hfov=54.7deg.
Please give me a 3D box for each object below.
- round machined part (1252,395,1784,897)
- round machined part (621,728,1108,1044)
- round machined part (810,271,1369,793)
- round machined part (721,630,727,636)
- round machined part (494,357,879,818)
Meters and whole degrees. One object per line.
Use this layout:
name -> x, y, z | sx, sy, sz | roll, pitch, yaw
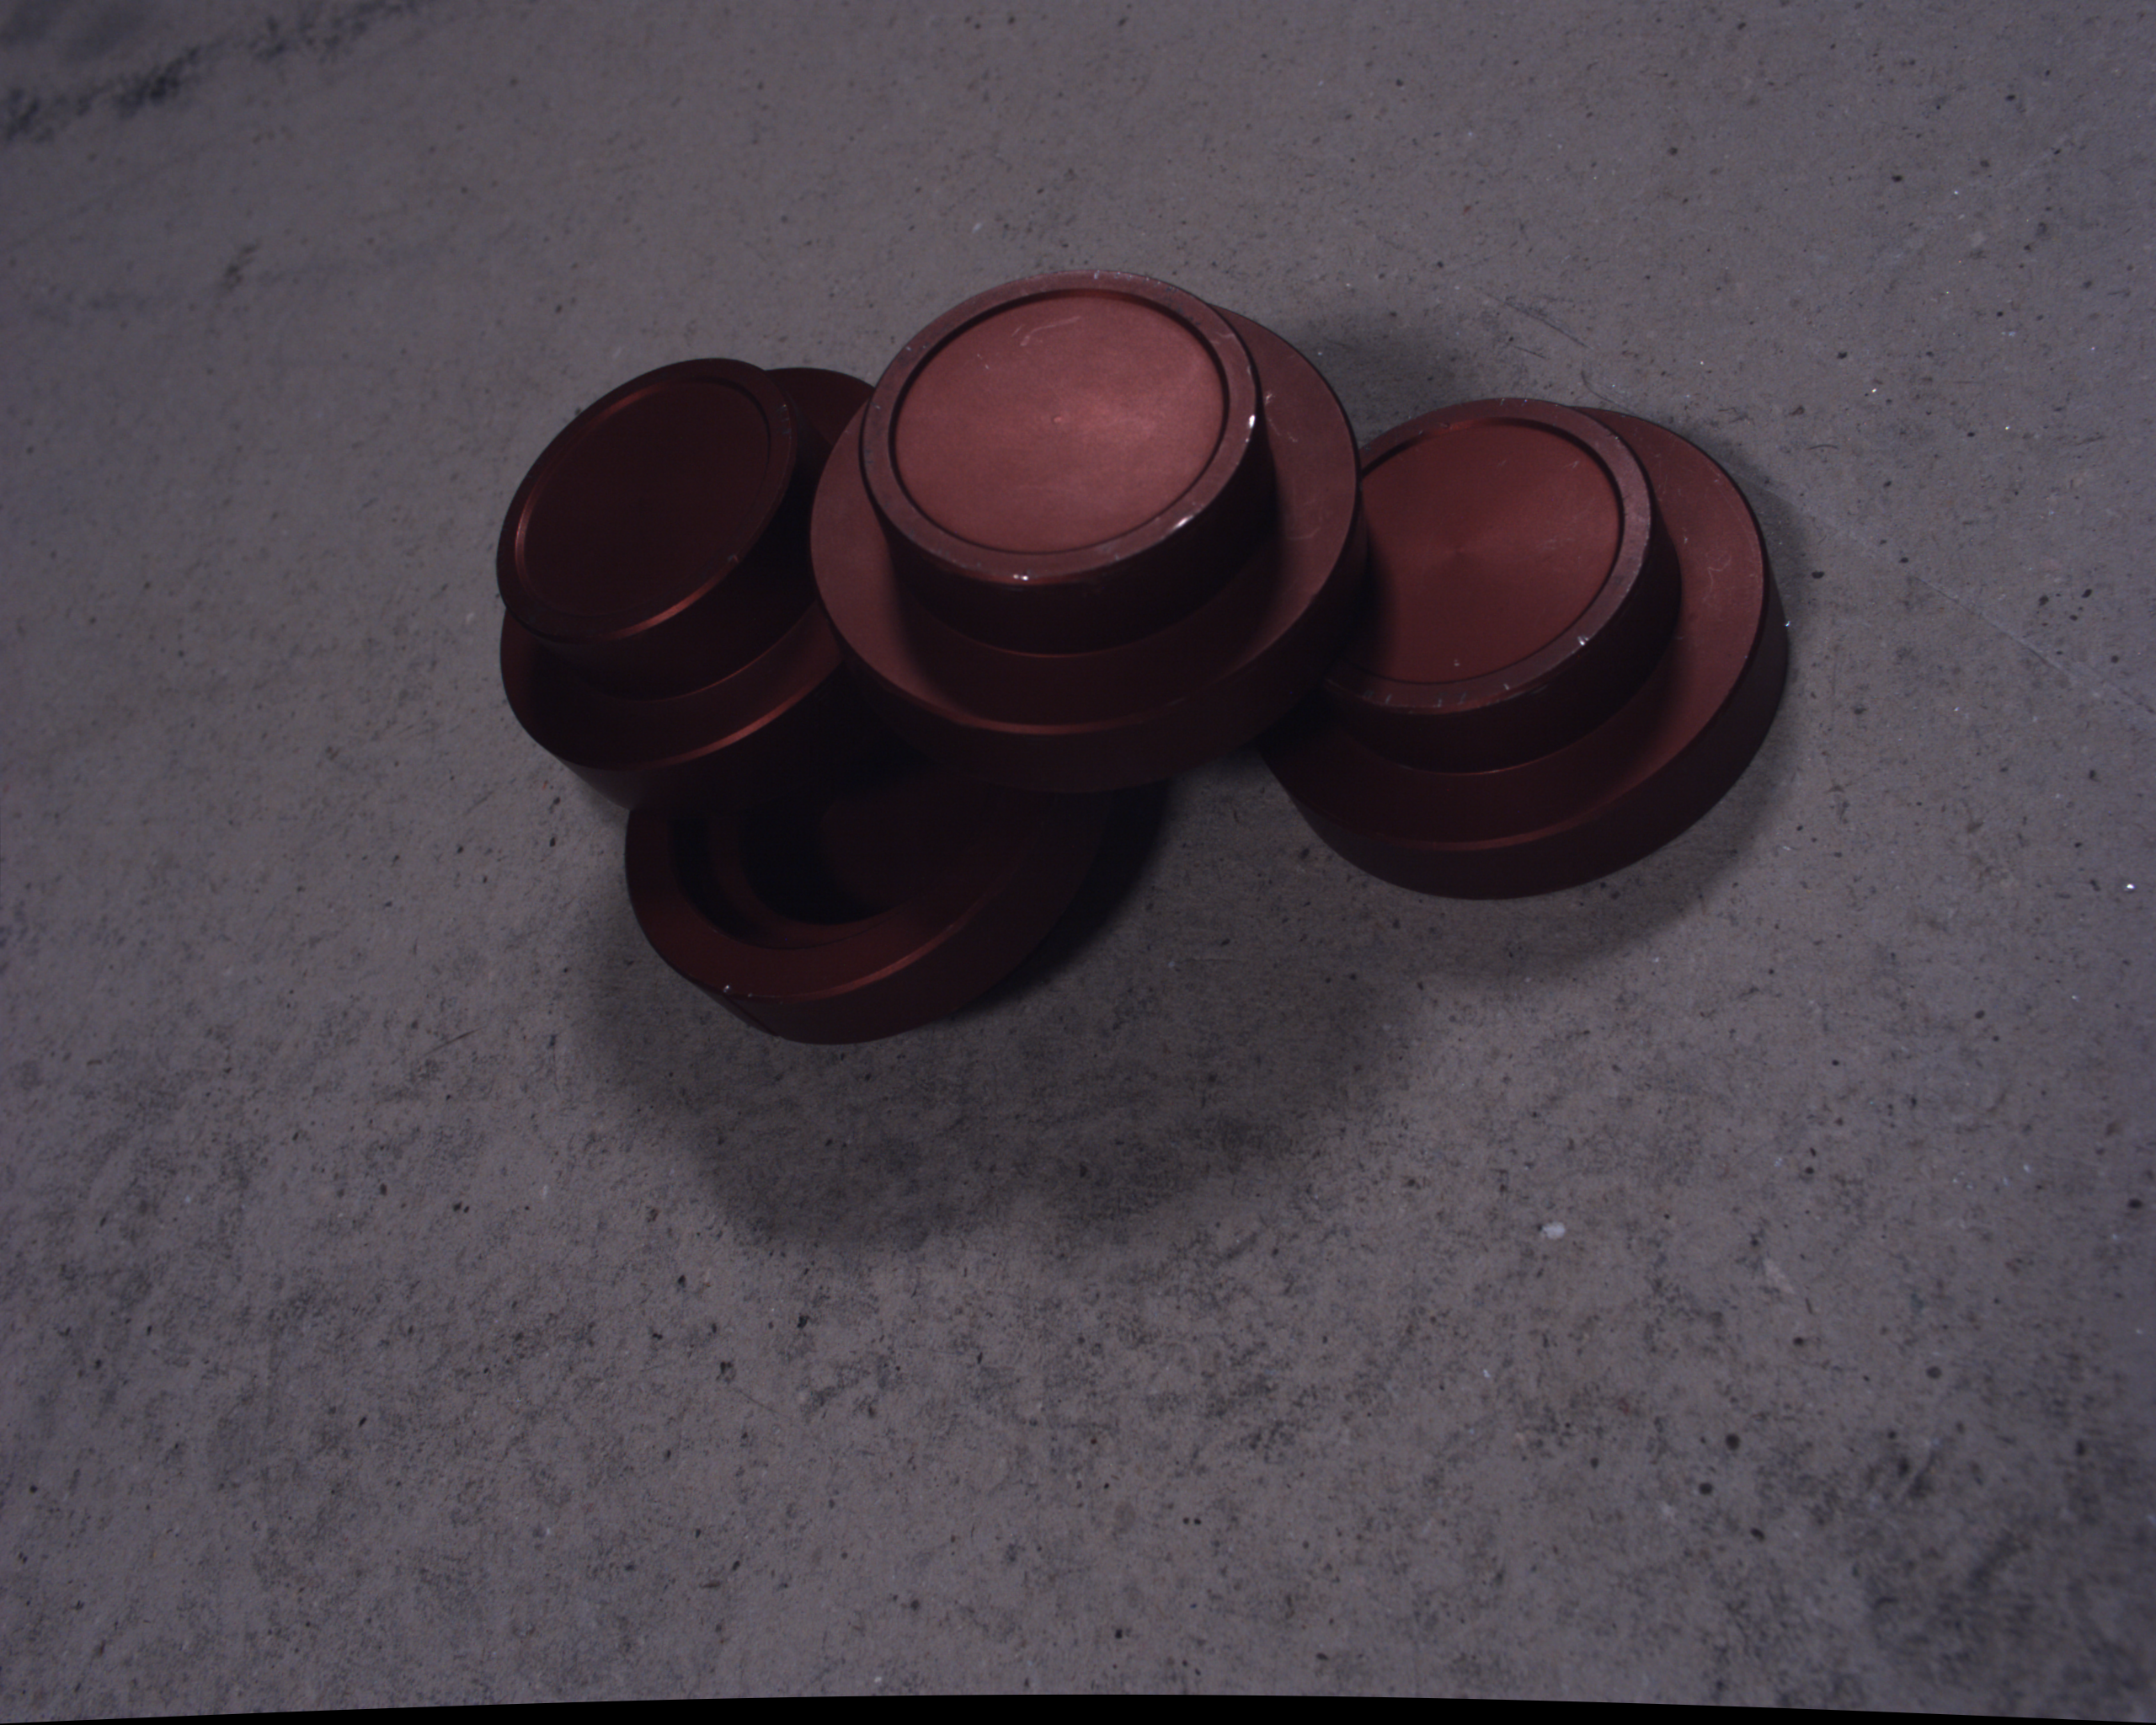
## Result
round machined part -> 0.075, -0.046, 0.382 | 0.098, 0.042, 0.098 | -13, 56, 20
round machined part -> -0.038, -0.008, 0.418 | 0.098, 0.042, 0.098 | -13, 56, 20
round machined part -> 0.000, -0.064, 0.365 | 0.098, 0.042, 0.098 | -5, 60, 10
round machined part -> -0.082, -0.070, 0.477 | 0.098, 0.042, 0.098 | -13, 56, 20
round machined part -> -0.075, -0.061, 0.415 | 0.098, 0.042, 0.098 | -13, 56, 20
